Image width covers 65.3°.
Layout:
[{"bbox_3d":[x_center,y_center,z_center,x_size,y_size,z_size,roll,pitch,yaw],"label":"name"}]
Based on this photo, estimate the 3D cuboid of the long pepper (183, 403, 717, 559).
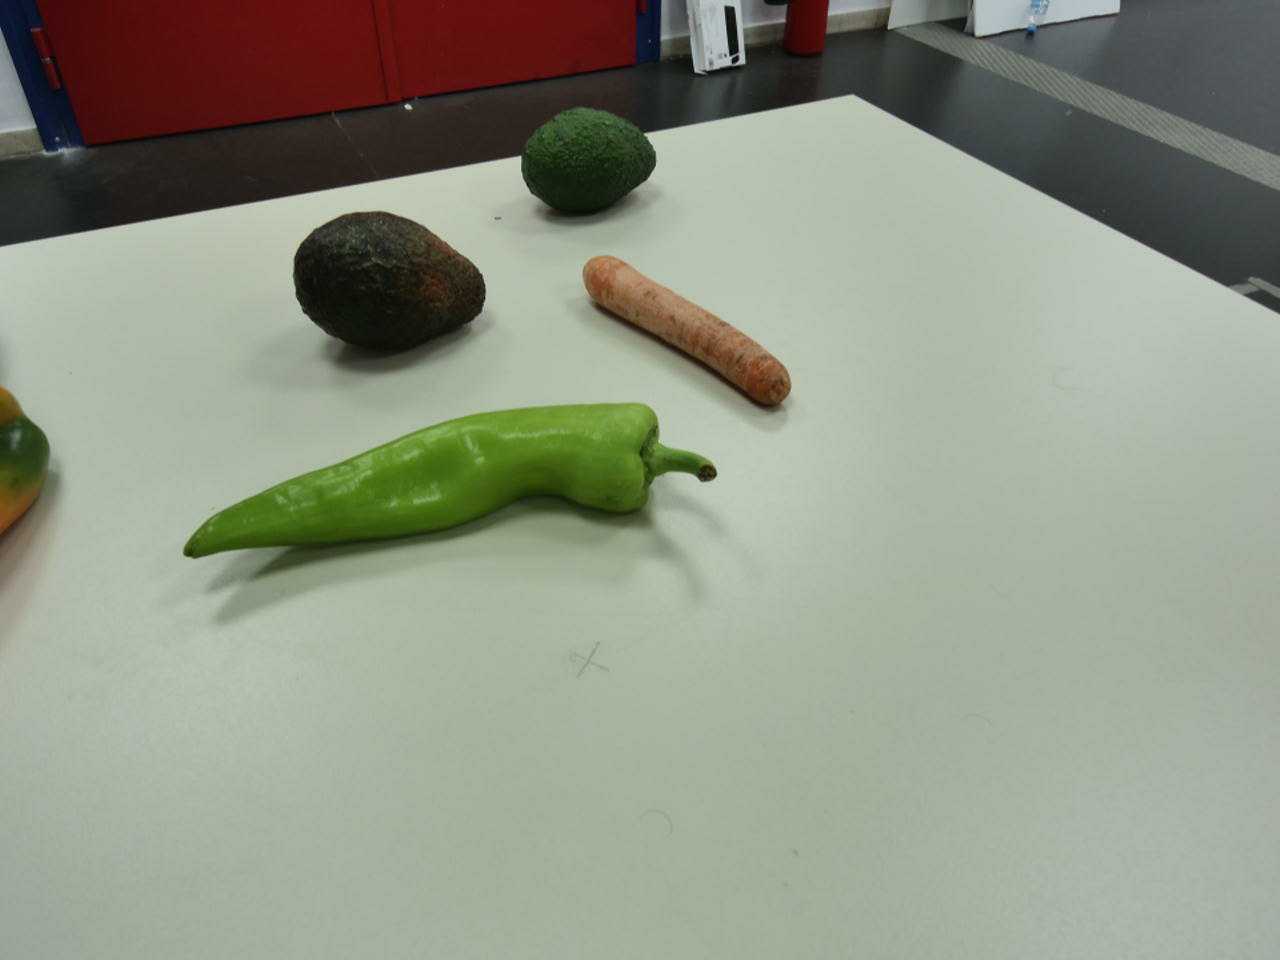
[{"bbox_3d":[-0.073,-0.002,0.411,0.204,0.045,0.065,-7,38,-9],"label":"long pepper"}]
